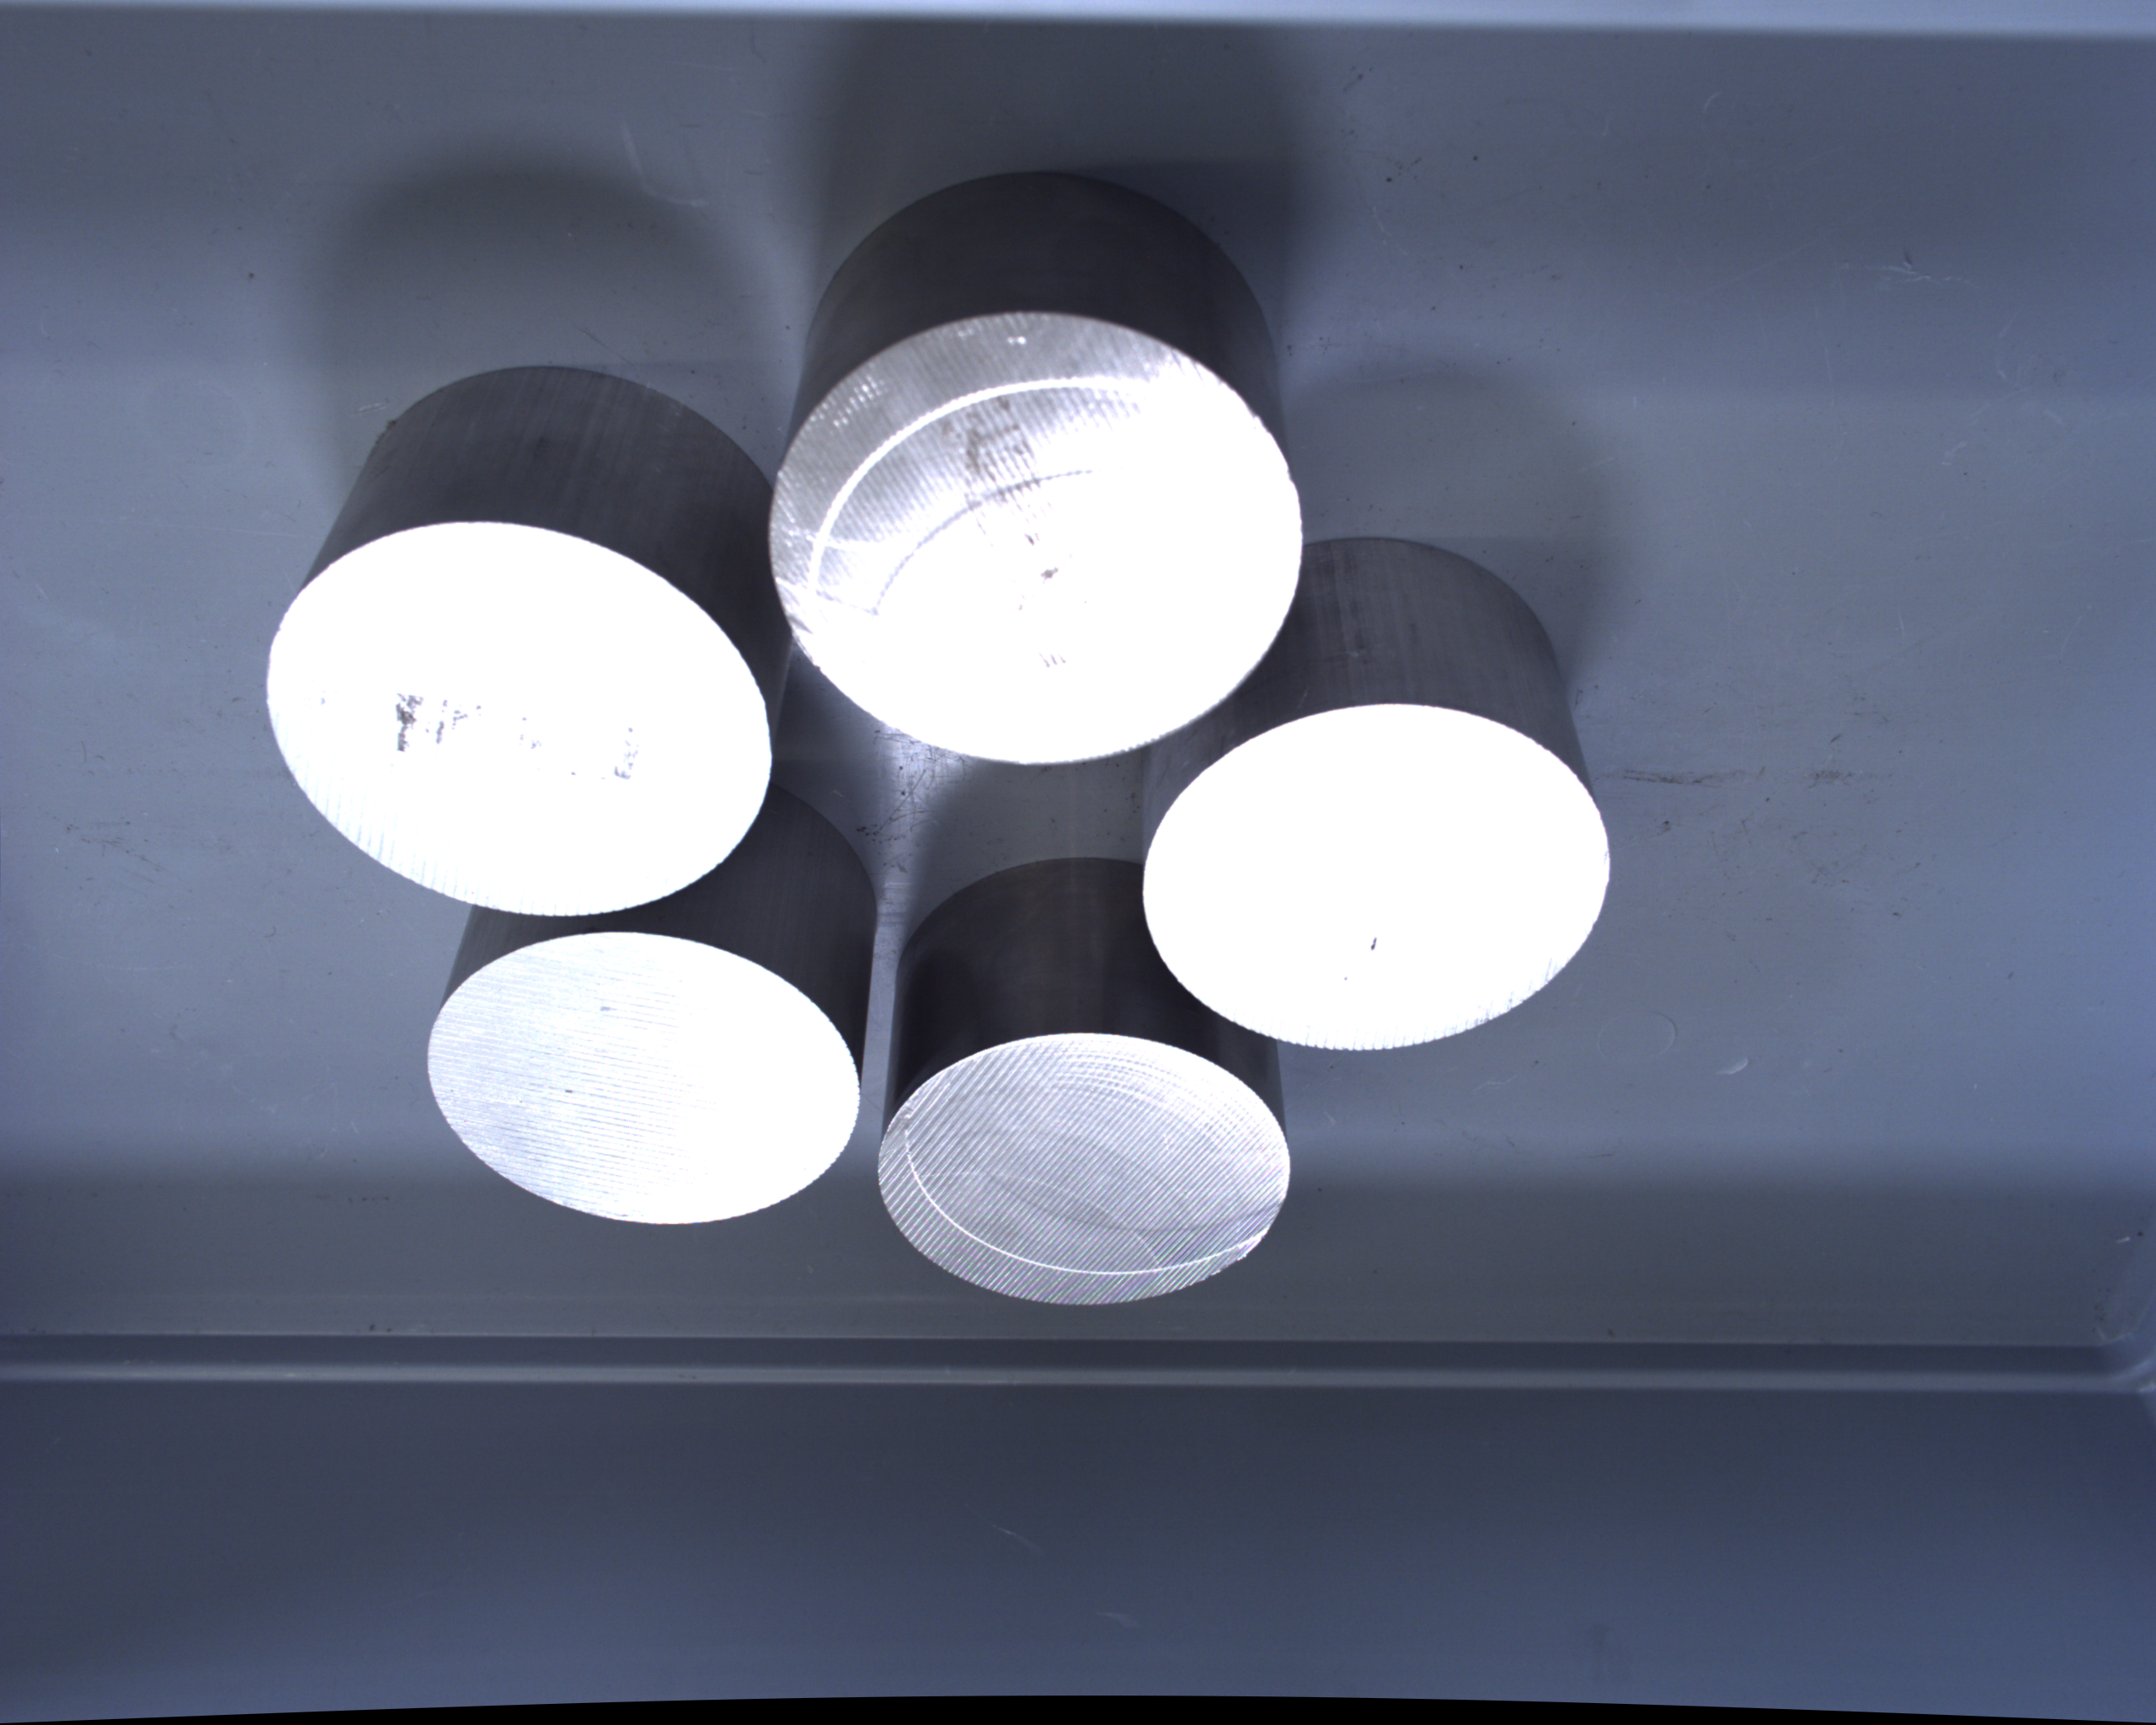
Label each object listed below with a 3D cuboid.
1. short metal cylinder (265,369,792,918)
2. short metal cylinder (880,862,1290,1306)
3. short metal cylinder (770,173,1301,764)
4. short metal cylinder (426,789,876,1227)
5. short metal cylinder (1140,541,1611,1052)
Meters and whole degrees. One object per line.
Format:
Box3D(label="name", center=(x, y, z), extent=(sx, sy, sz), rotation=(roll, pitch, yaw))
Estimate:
Box3D(label="short metal cylinder", center=(-0.090, -0.037, 0.358), extent=(0.081, 0.050, 0.079), rotation=(0, 130, 0))
Box3D(label="short metal cylinder", center=(0.001, 0.046, 0.429), extent=(0.081, 0.050, 0.079), rotation=(0, 130, 0))
Box3D(label="short metal cylinder", center=(-0.006, -0.063, 0.336), extent=(0.081, 0.050, 0.079), rotation=(0, 130, 0))
Box3D(label="short metal cylinder", center=(-0.082, 0.027, 0.412), extent=(0.081, 0.050, 0.079), rotation=(0, 130, 0))
Box3D(label="short metal cylinder", center=(0.052, -0.011, 0.381), extent=(0.081, 0.050, 0.079), rotation=(0, 130, 0))
